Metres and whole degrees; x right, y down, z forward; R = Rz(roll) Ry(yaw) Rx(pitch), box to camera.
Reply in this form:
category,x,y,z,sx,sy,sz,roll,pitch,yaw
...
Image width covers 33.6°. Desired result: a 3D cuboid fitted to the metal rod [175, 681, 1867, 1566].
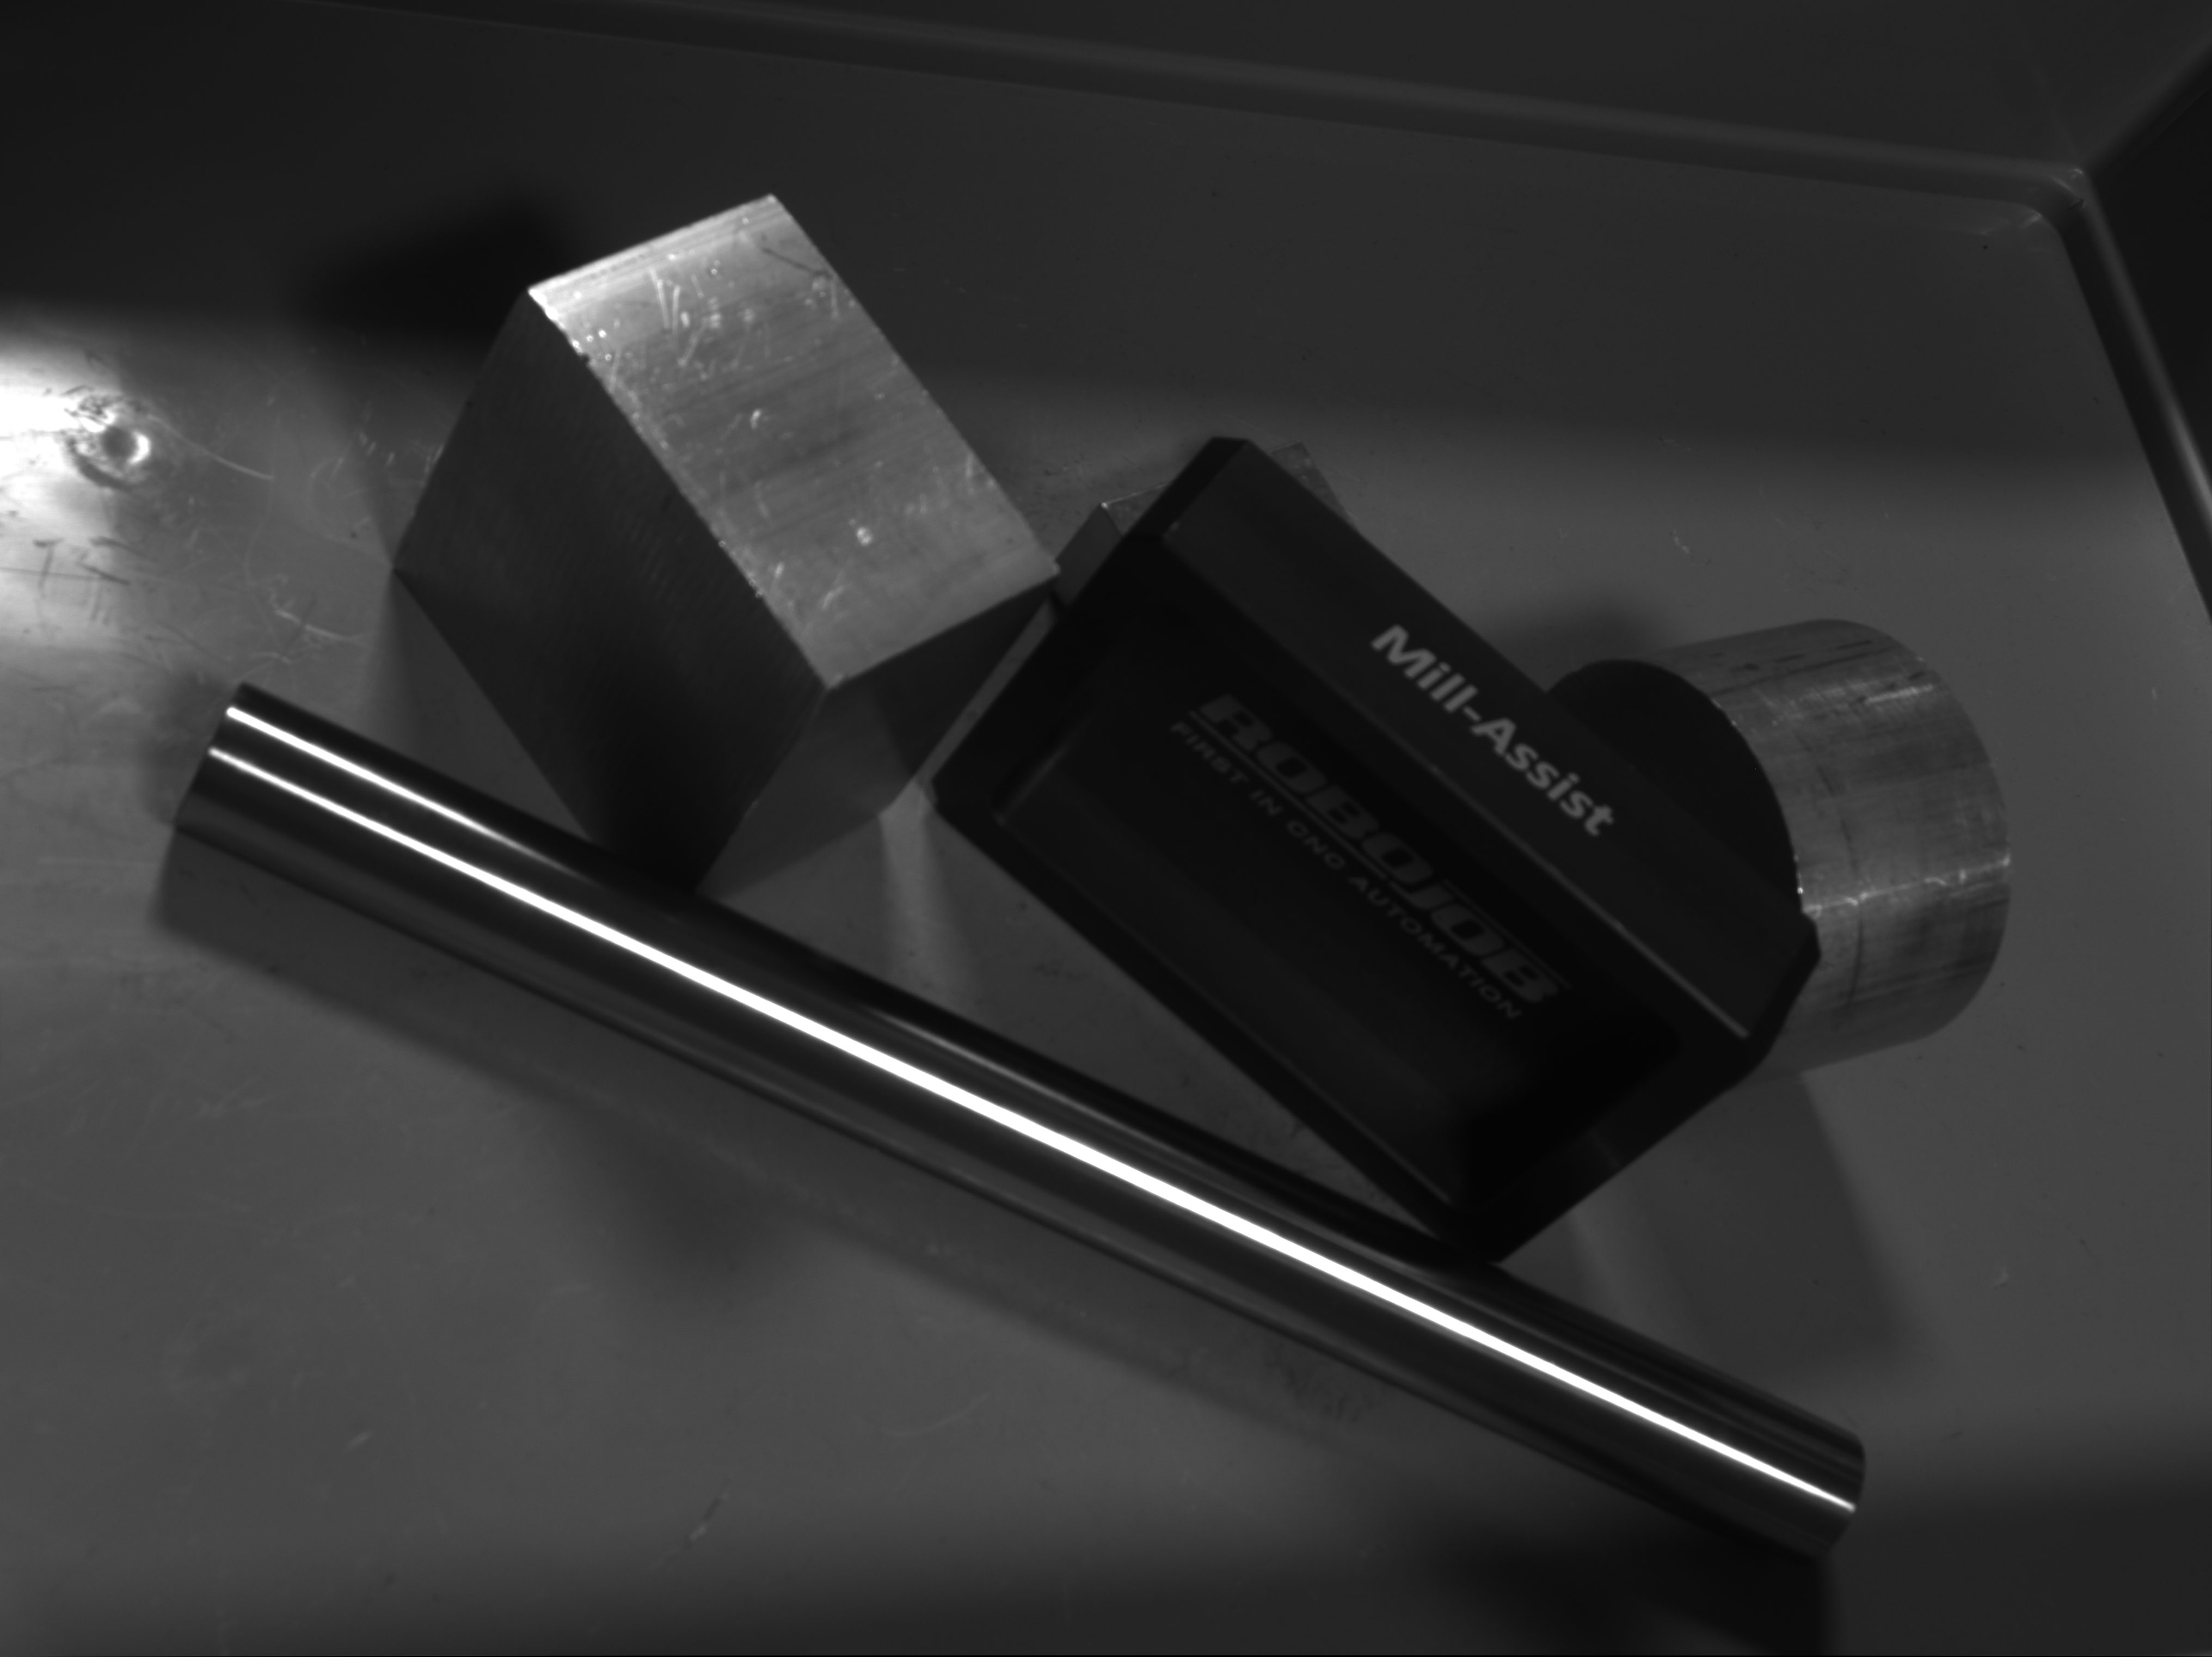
category,x,y,z,sx,sy,sz,roll,pitch,yaw
metal rod,-0.008,0.052,0.603,0.300,0.025,0.025,26,53,-12

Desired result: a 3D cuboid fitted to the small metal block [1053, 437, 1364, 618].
category,x,y,z,sx,sy,sz,roll,pitch,yaw
small metal block,0.025,-0.039,0.675,0.050,0.025,0.050,-22,73,-36

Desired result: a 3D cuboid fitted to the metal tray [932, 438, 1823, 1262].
category,x,y,z,sx,sy,sz,roll,pitch,yaw
metal tray,0.043,0.006,0.615,0.130,0.090,0.030,40,50,-1

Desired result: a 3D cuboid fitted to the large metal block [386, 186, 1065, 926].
category,x,y,z,sx,sy,sz,roll,pitch,yaw
large metal block,-0.064,-0.043,0.595,0.050,0.080,0.080,-29,78,-37

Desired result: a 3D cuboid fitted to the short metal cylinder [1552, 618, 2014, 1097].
category,x,y,z,sx,sy,sz,roll,pitch,yaw
short metal cylinder,0.116,0.005,0.662,0.050,0.080,0.080,-12,68,-32
